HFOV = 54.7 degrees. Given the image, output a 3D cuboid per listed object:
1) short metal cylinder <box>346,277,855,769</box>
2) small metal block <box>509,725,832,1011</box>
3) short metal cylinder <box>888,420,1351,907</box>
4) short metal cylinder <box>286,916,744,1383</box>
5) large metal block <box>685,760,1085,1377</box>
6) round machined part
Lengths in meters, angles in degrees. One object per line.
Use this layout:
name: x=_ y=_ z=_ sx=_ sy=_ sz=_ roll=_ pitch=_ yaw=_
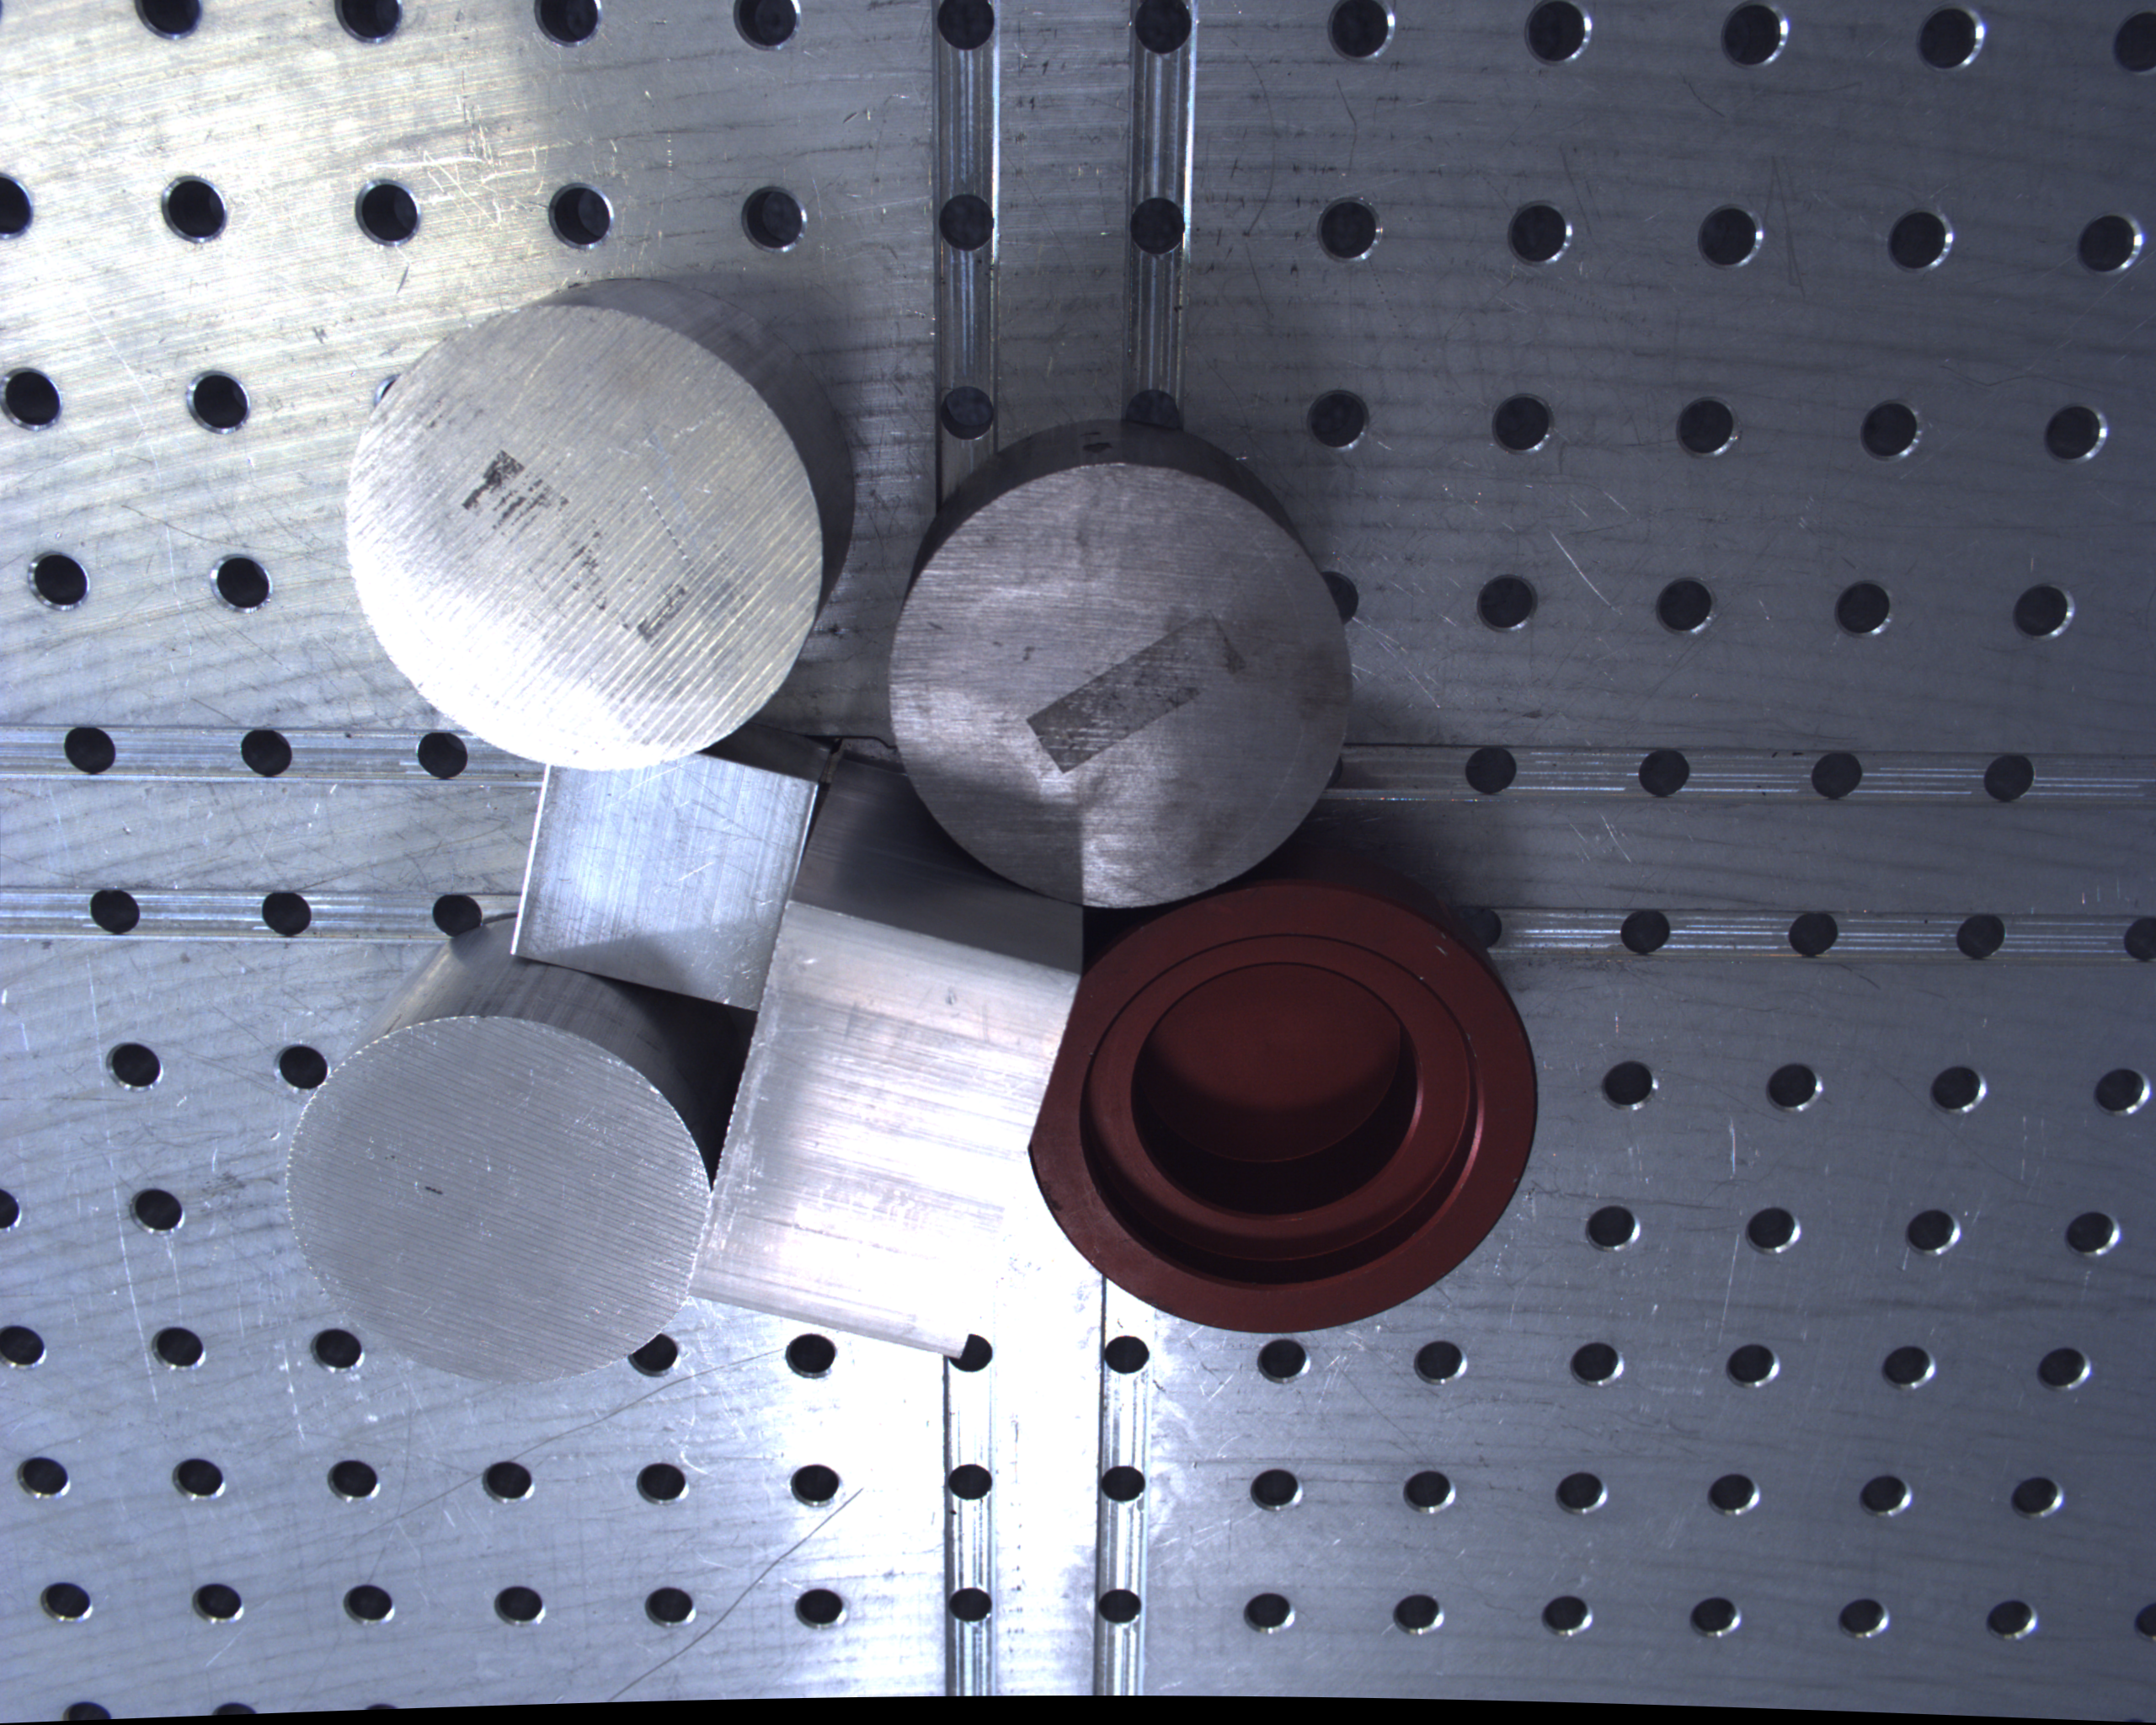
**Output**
short metal cylinder: x=-0.083 y=-0.062 z=0.376 sx=0.081 sy=0.050 sz=0.079 roll=0 pitch=110 yaw=0
small metal block: x=-0.080 y=-0.003 z=0.411 sx=0.050 sy=0.025 sz=0.050 roll=14 pitch=110 yaw=-5
short metal cylinder: x=0.007 y=-0.038 z=0.386 sx=0.081 sy=0.050 sz=0.079 roll=0 pitch=110 yaw=0
short metal cylinder: x=-0.110 y=0.056 z=0.419 sx=0.081 sy=0.050 sz=0.079 roll=0 pitch=110 yaw=0
large metal block: x=-0.034 y=0.036 z=0.394 sx=0.050 sy=0.080 sz=0.079 roll=15 pitch=109 yaw=-6
round machined part: x=0.039 y=0.042 z=0.420 sx=0.099 sy=0.042 sz=0.097 roll=0 pitch=110 yaw=0
